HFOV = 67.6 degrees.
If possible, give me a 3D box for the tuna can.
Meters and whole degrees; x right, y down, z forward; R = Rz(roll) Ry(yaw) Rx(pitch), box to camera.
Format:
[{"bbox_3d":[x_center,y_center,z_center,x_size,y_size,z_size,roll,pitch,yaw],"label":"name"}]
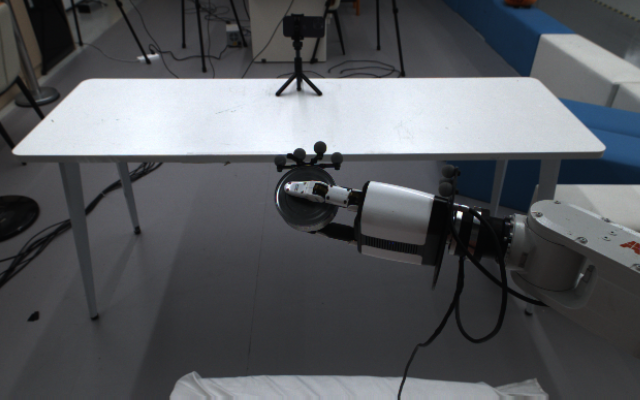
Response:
[{"bbox_3d":[-0.015,0.003,0.650,0.085,0.034,0.085,-2,69,6],"label":"tuna can"}]
